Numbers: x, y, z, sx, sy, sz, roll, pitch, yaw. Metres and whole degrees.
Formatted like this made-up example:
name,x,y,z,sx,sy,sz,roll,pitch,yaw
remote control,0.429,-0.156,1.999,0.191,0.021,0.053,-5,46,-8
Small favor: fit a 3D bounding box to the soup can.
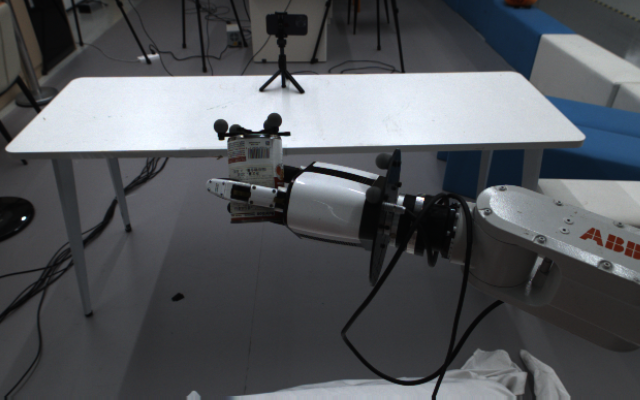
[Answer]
name,x,y,z,sx,sy,sz,roll,pitch,yaw
soup can,-0.075,-0.023,0.583,0.067,0.101,0.067,-3,-1,0
